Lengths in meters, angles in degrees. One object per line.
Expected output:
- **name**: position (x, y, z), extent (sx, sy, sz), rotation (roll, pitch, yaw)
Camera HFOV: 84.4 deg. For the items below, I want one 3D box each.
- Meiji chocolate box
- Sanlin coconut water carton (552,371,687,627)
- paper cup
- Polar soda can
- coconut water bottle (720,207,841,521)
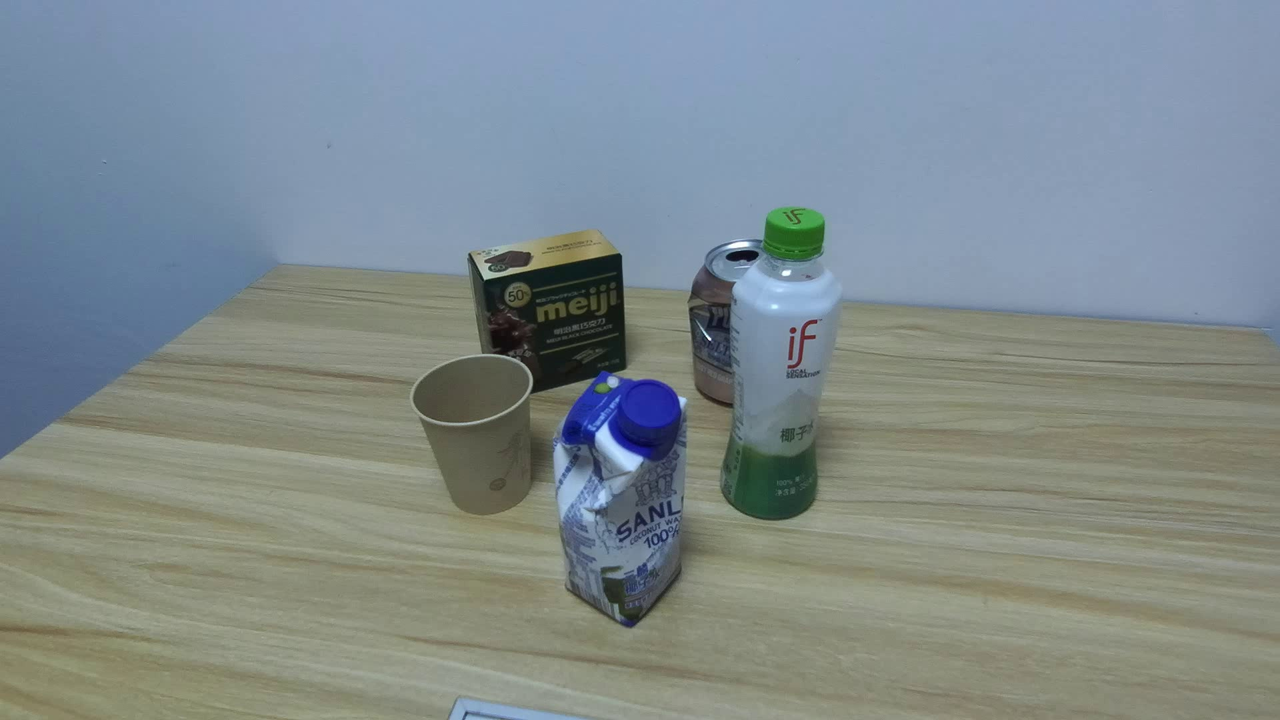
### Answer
- **Meiji chocolate box**: position (-0.070, -0.036, 0.559), extent (0.110, 0.109, 0.056), rotation (-14, 35, -18)
- **Sanlin coconut water carton**: position (-0.012, 0.068, 0.365), extent (0.069, 0.144, 0.061), rotation (22, 41, 31)
- **paper cup**: position (-0.100, 0.050, 0.452), extent (0.075, 0.082, 0.075), rotation (-1, 33, 1)
- **Polar soda can**: position (0.077, -0.023, 0.540), extent (0.071, 0.122, 0.066), rotation (4, 19, -2)
- **coconut water bottle**: position (0.082, 0.006, 0.412), extent (0.063, 0.189, 0.063), rotation (-1, 33, 1)
